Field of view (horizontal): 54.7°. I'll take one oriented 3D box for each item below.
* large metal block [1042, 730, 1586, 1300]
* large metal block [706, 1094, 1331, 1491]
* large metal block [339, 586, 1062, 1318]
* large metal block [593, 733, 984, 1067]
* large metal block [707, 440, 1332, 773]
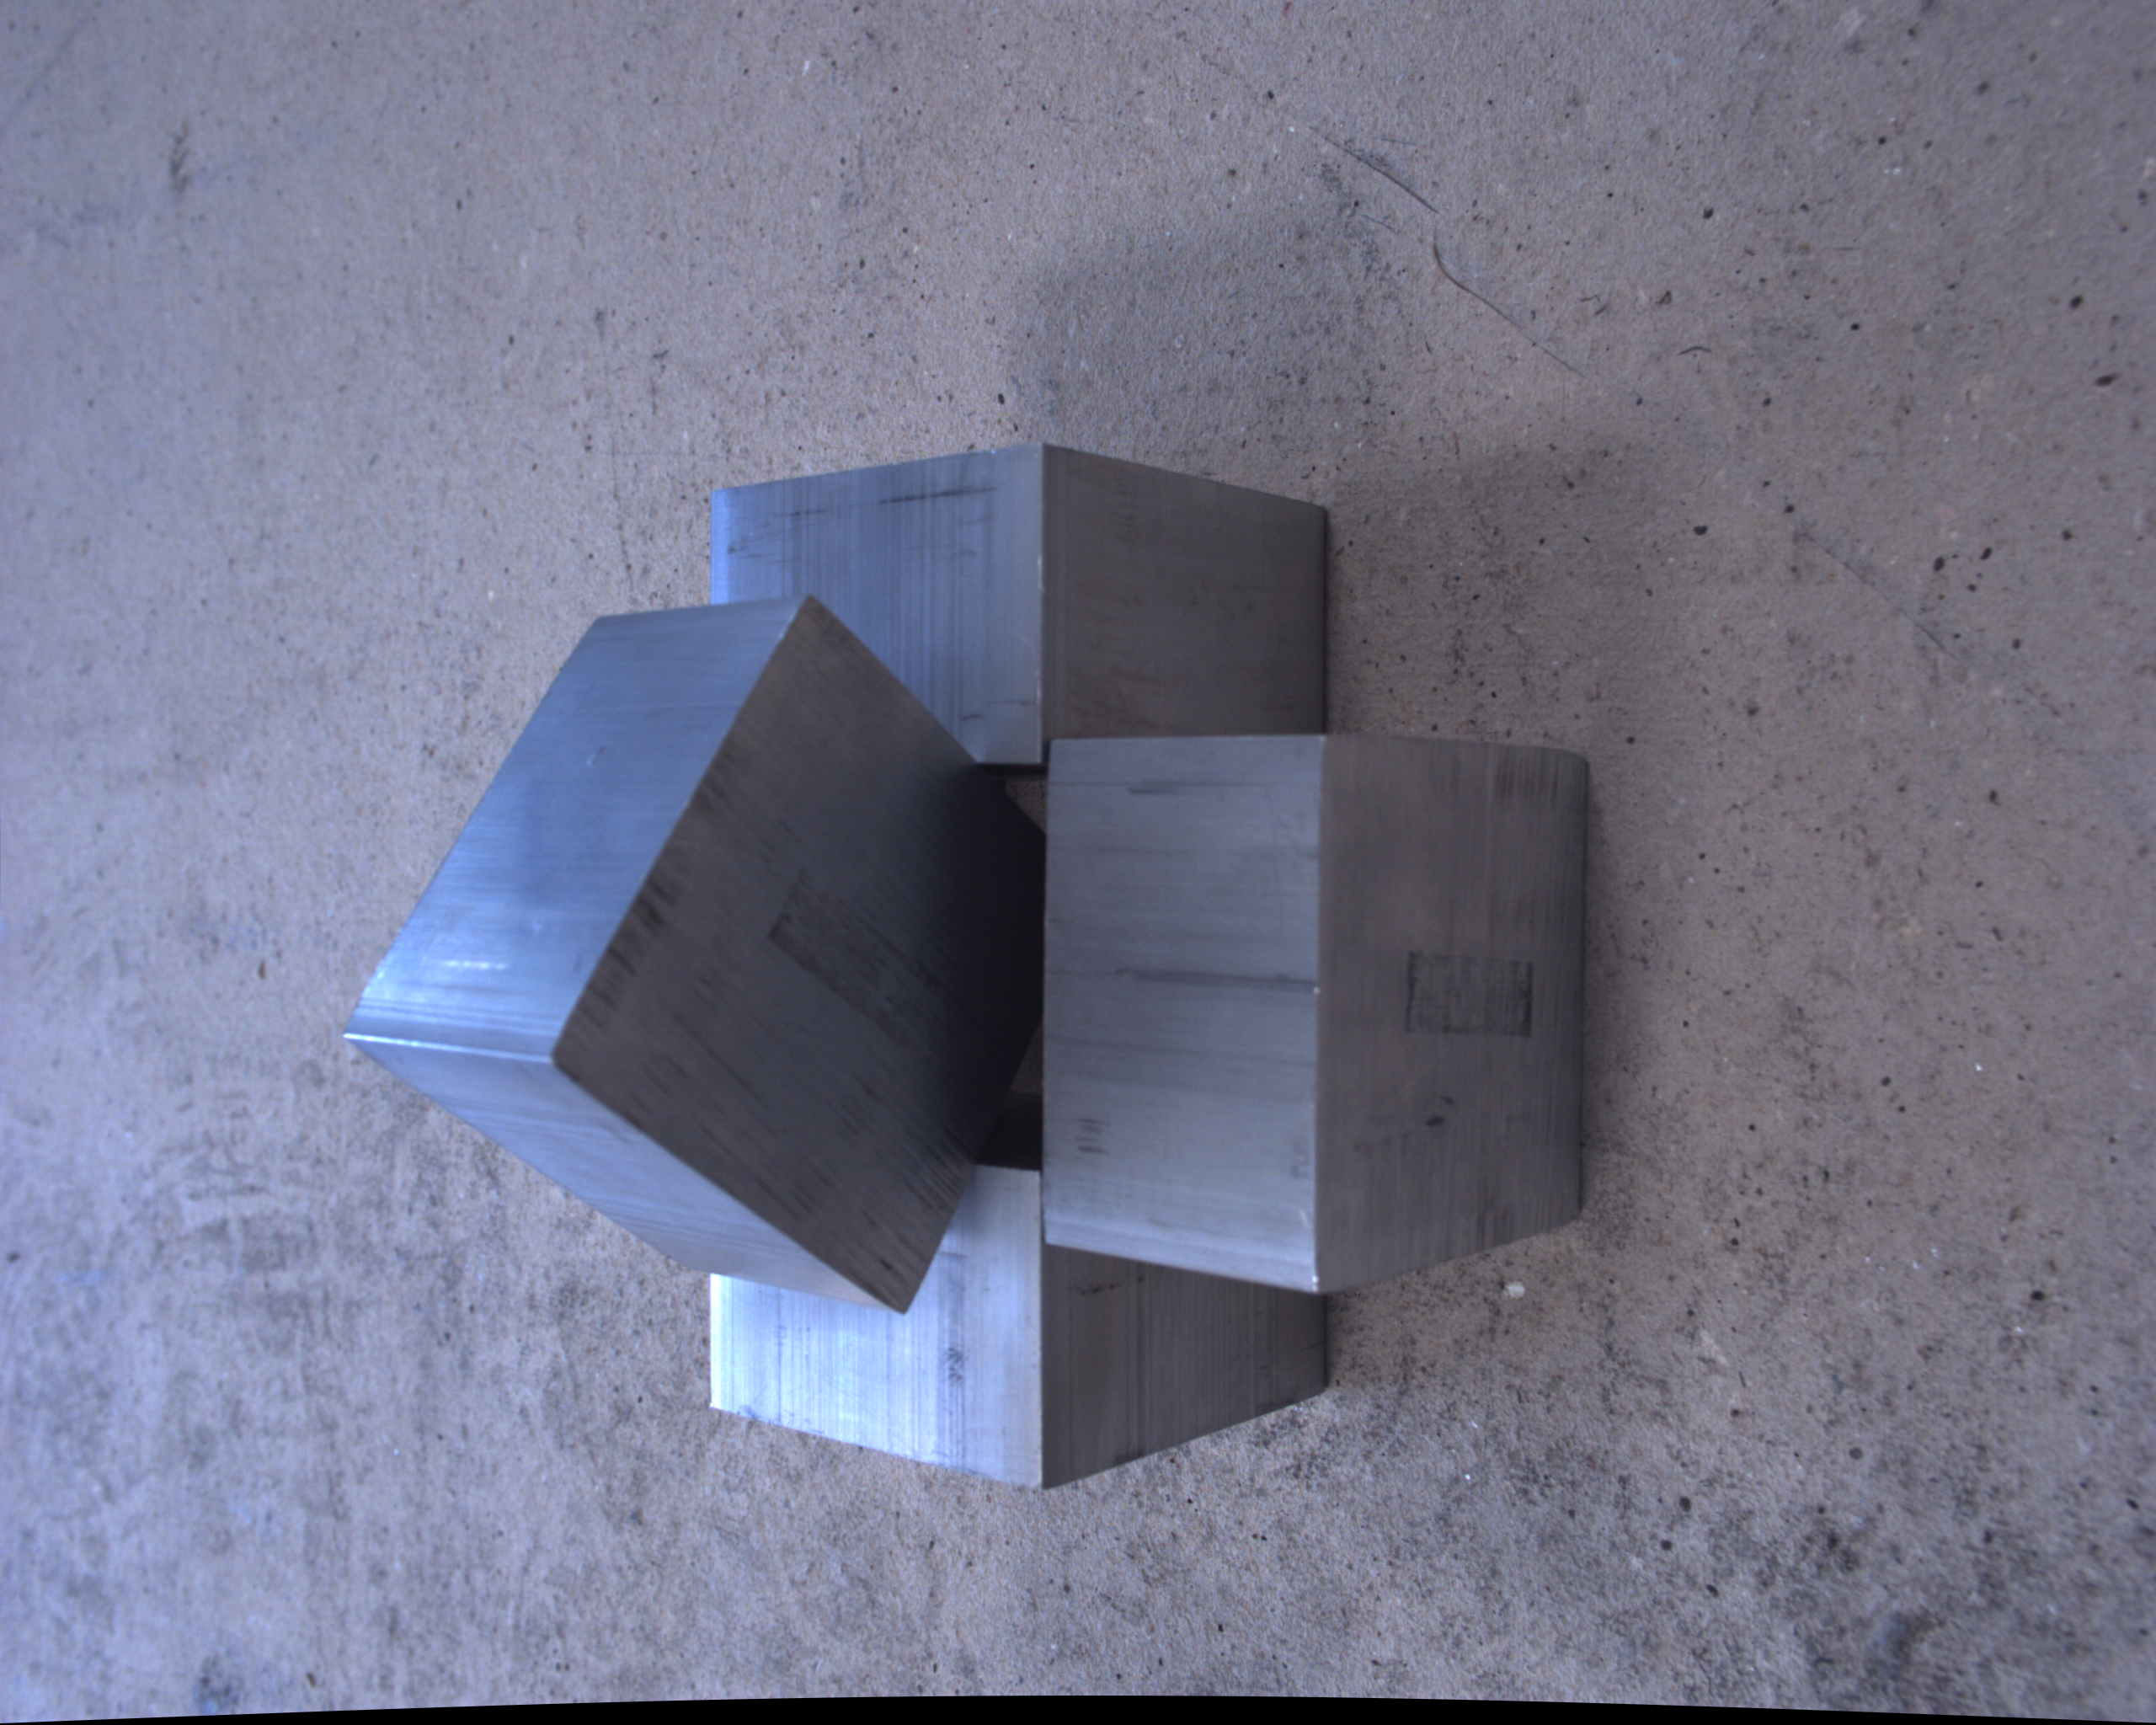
[{"bbox_3d":[0.040,0.021,0.337,0.050,0.081,0.080,1,91,40],"label":"large metal block"},{"bbox_3d":[-0.010,0.072,0.379,0.080,0.081,0.050,0,90,40],"label":"large metal block"},{"bbox_3d":[-0.051,0.015,0.328,0.050,0.080,0.080,1,57,40],"label":"large metal block"},{"bbox_3d":[-0.062,0.013,0.421,0.050,0.081,0.080,0,90,40],"label":"large metal block"},{"bbox_3d":[-0.010,-0.042,0.380,0.080,0.081,0.050,1,91,40],"label":"large metal block"}]
